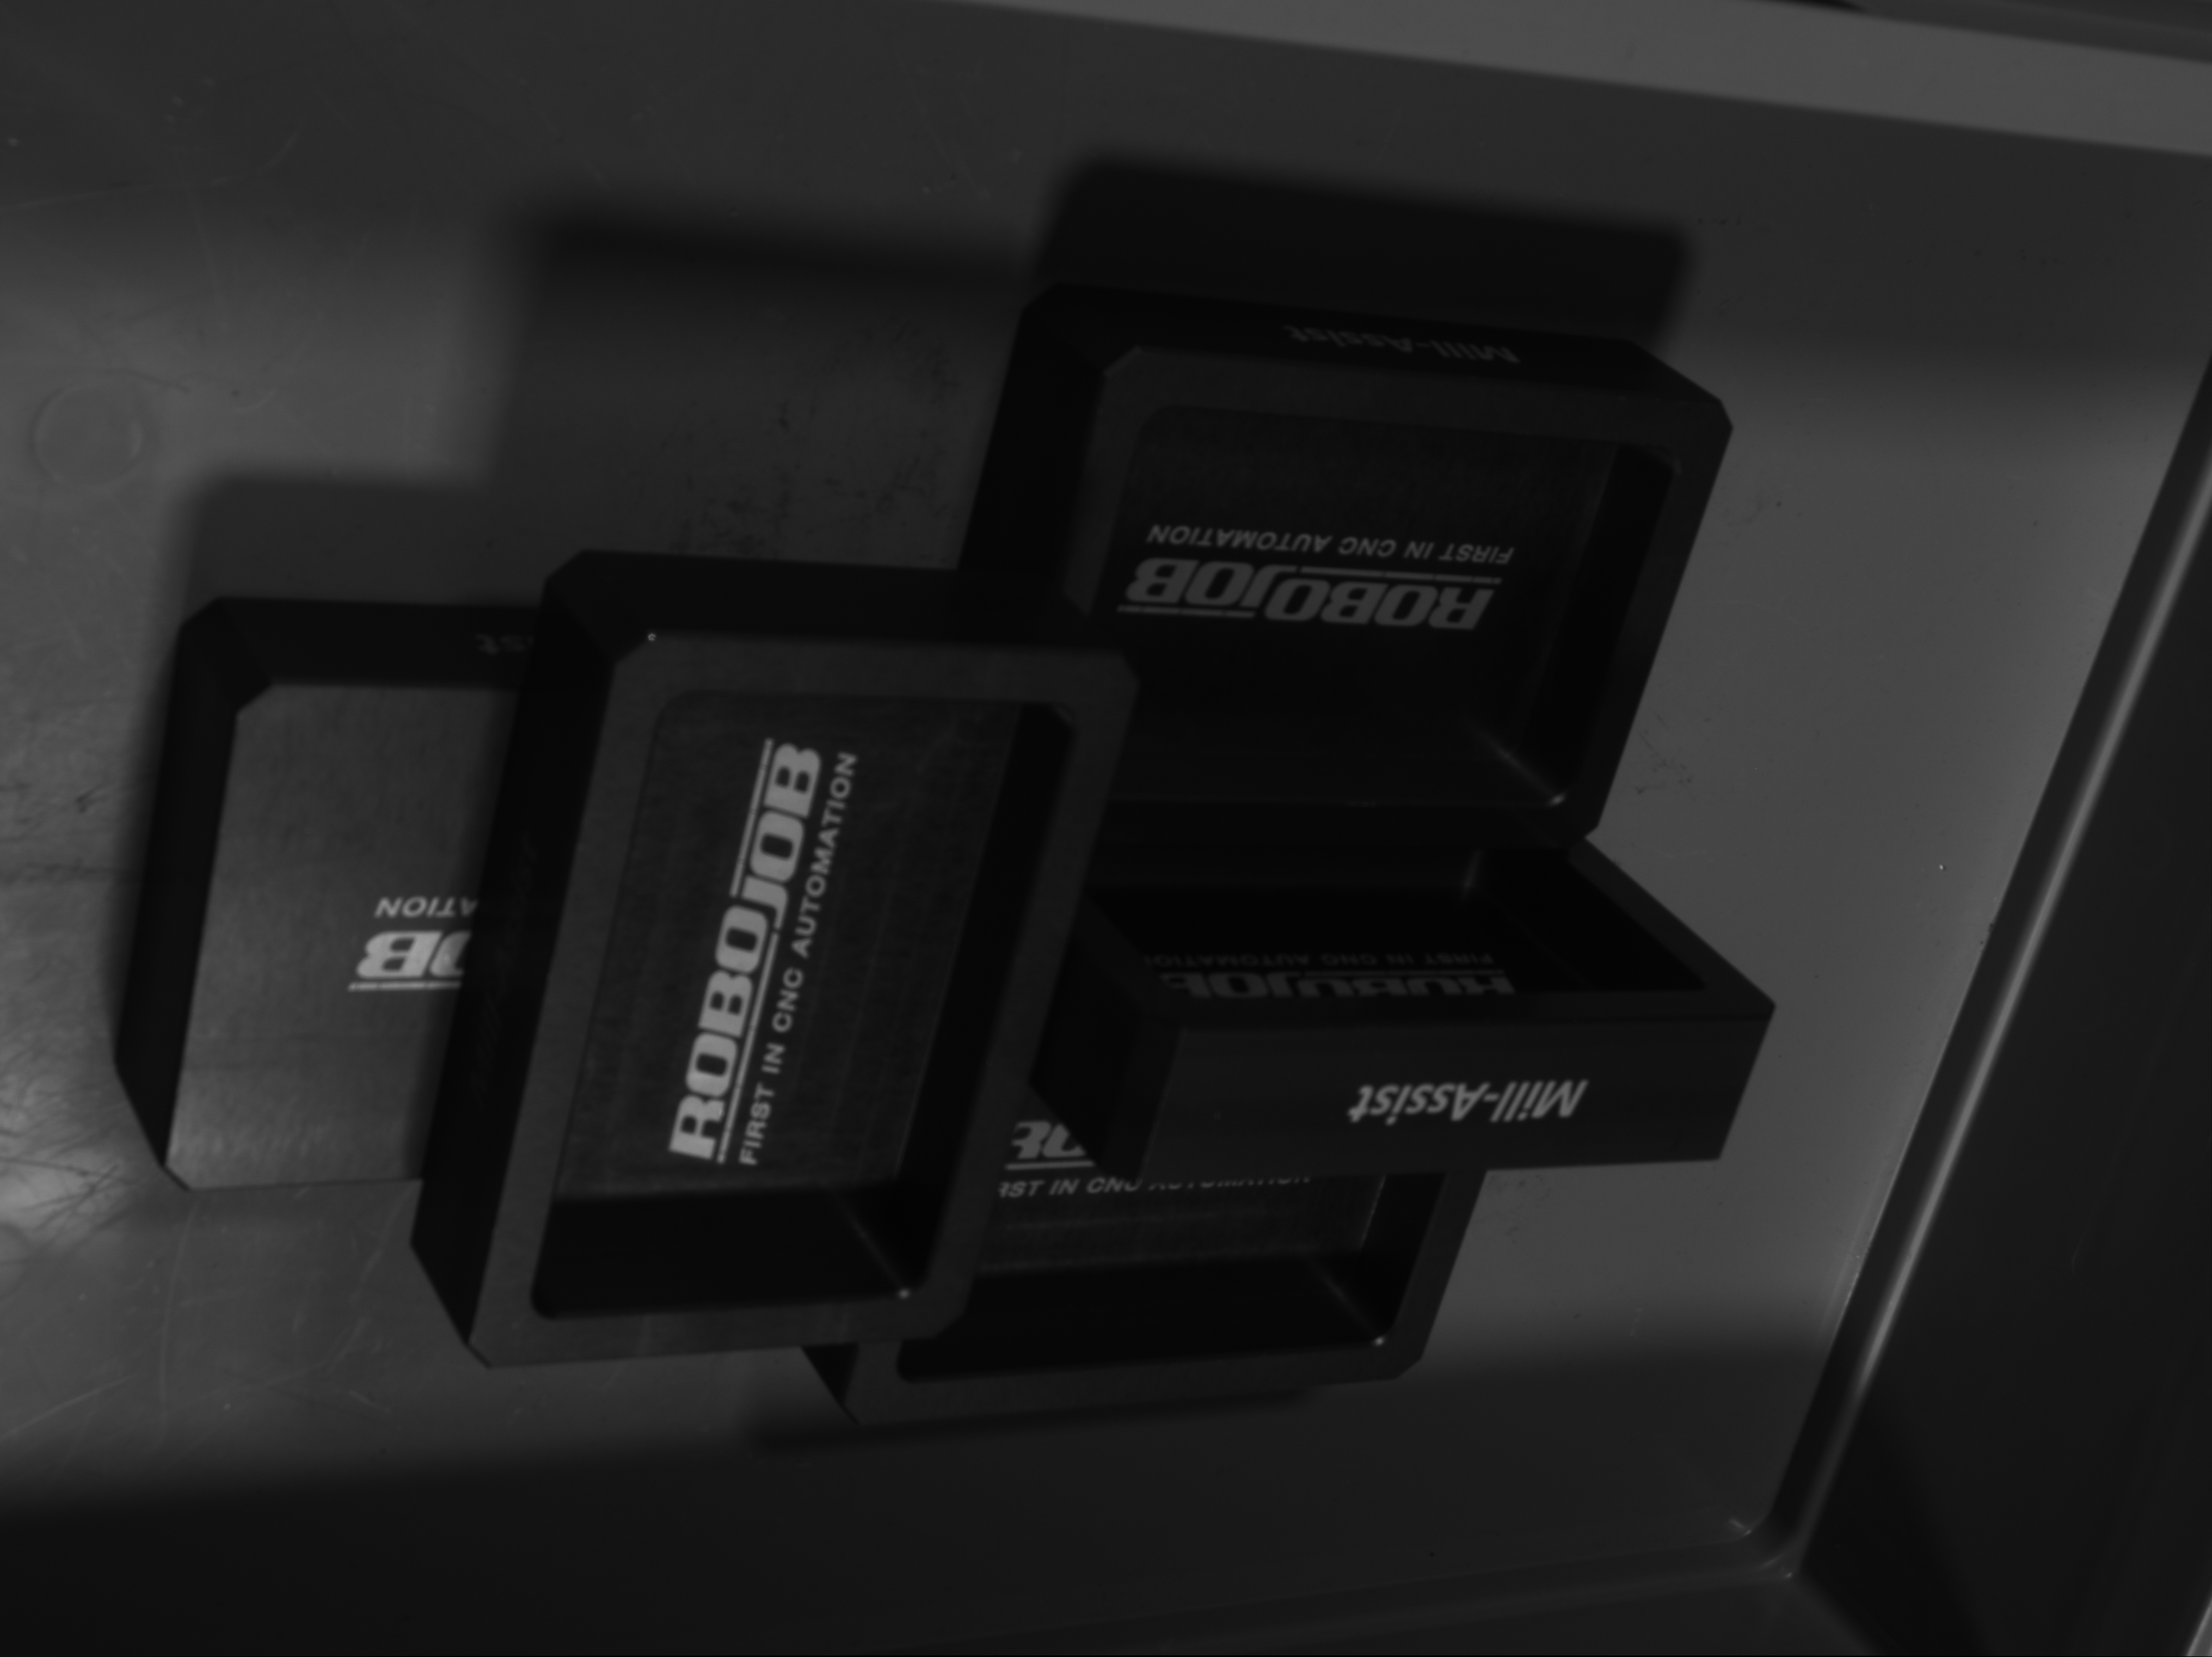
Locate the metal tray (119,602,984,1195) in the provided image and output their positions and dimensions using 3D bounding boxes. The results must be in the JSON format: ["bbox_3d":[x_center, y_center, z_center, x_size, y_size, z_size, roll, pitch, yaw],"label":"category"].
[{"bbox_3d":[-0.088,0.012,0.600,0.130,0.030,0.090,0,118,-30],"label":"metal tray"}]

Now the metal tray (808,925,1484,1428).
[{"bbox_3d":[0.011,0.064,0.692,0.130,0.030,0.090,1,118,-31],"label":"metal tray"}]

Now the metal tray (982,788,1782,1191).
[{"bbox_3d":[0.041,0.025,0.645,0.130,0.090,0.030,1,118,-31],"label":"metal tray"}]

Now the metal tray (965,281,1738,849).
[{"bbox_3d":[0.040,-0.043,0.643,0.130,0.030,0.090,1,118,-31],"label":"metal tray"}]

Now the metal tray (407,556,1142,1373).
[{"bbox_3d":[-0.054,0.023,0.588,0.090,0.030,0.130,1,118,-31],"label":"metal tray"}]
